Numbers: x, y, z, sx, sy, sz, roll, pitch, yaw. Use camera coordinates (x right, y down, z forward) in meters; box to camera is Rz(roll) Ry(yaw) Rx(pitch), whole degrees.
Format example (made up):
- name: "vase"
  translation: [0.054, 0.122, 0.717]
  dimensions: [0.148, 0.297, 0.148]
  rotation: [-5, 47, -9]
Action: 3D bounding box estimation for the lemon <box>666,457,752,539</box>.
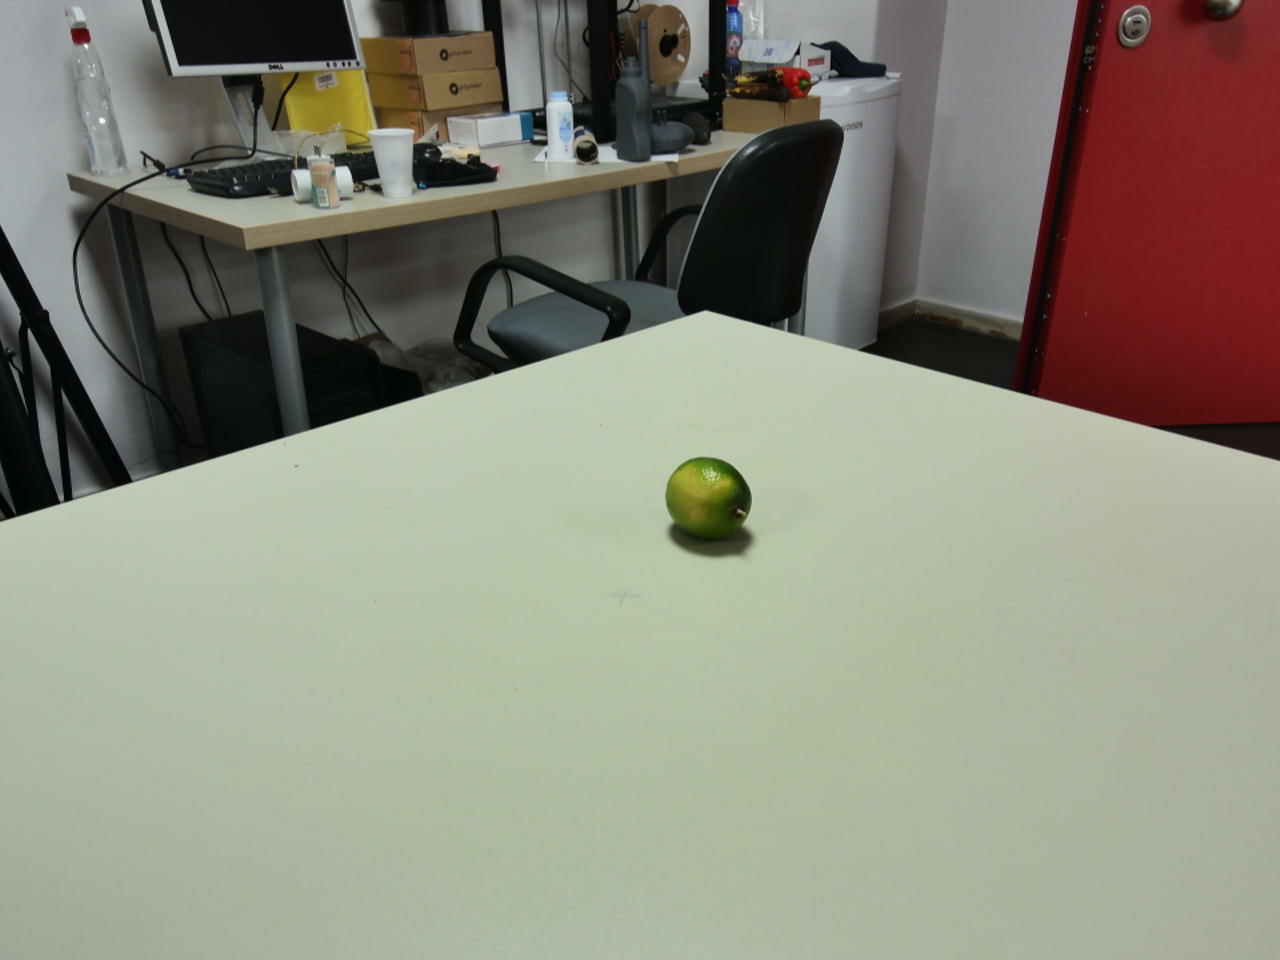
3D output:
- name: "lemon"
  translation: [0.043, 0.011, 0.634]
  dimensions: [0.054, 0.050, 0.055]
  rotation: [3, 24, 7]
